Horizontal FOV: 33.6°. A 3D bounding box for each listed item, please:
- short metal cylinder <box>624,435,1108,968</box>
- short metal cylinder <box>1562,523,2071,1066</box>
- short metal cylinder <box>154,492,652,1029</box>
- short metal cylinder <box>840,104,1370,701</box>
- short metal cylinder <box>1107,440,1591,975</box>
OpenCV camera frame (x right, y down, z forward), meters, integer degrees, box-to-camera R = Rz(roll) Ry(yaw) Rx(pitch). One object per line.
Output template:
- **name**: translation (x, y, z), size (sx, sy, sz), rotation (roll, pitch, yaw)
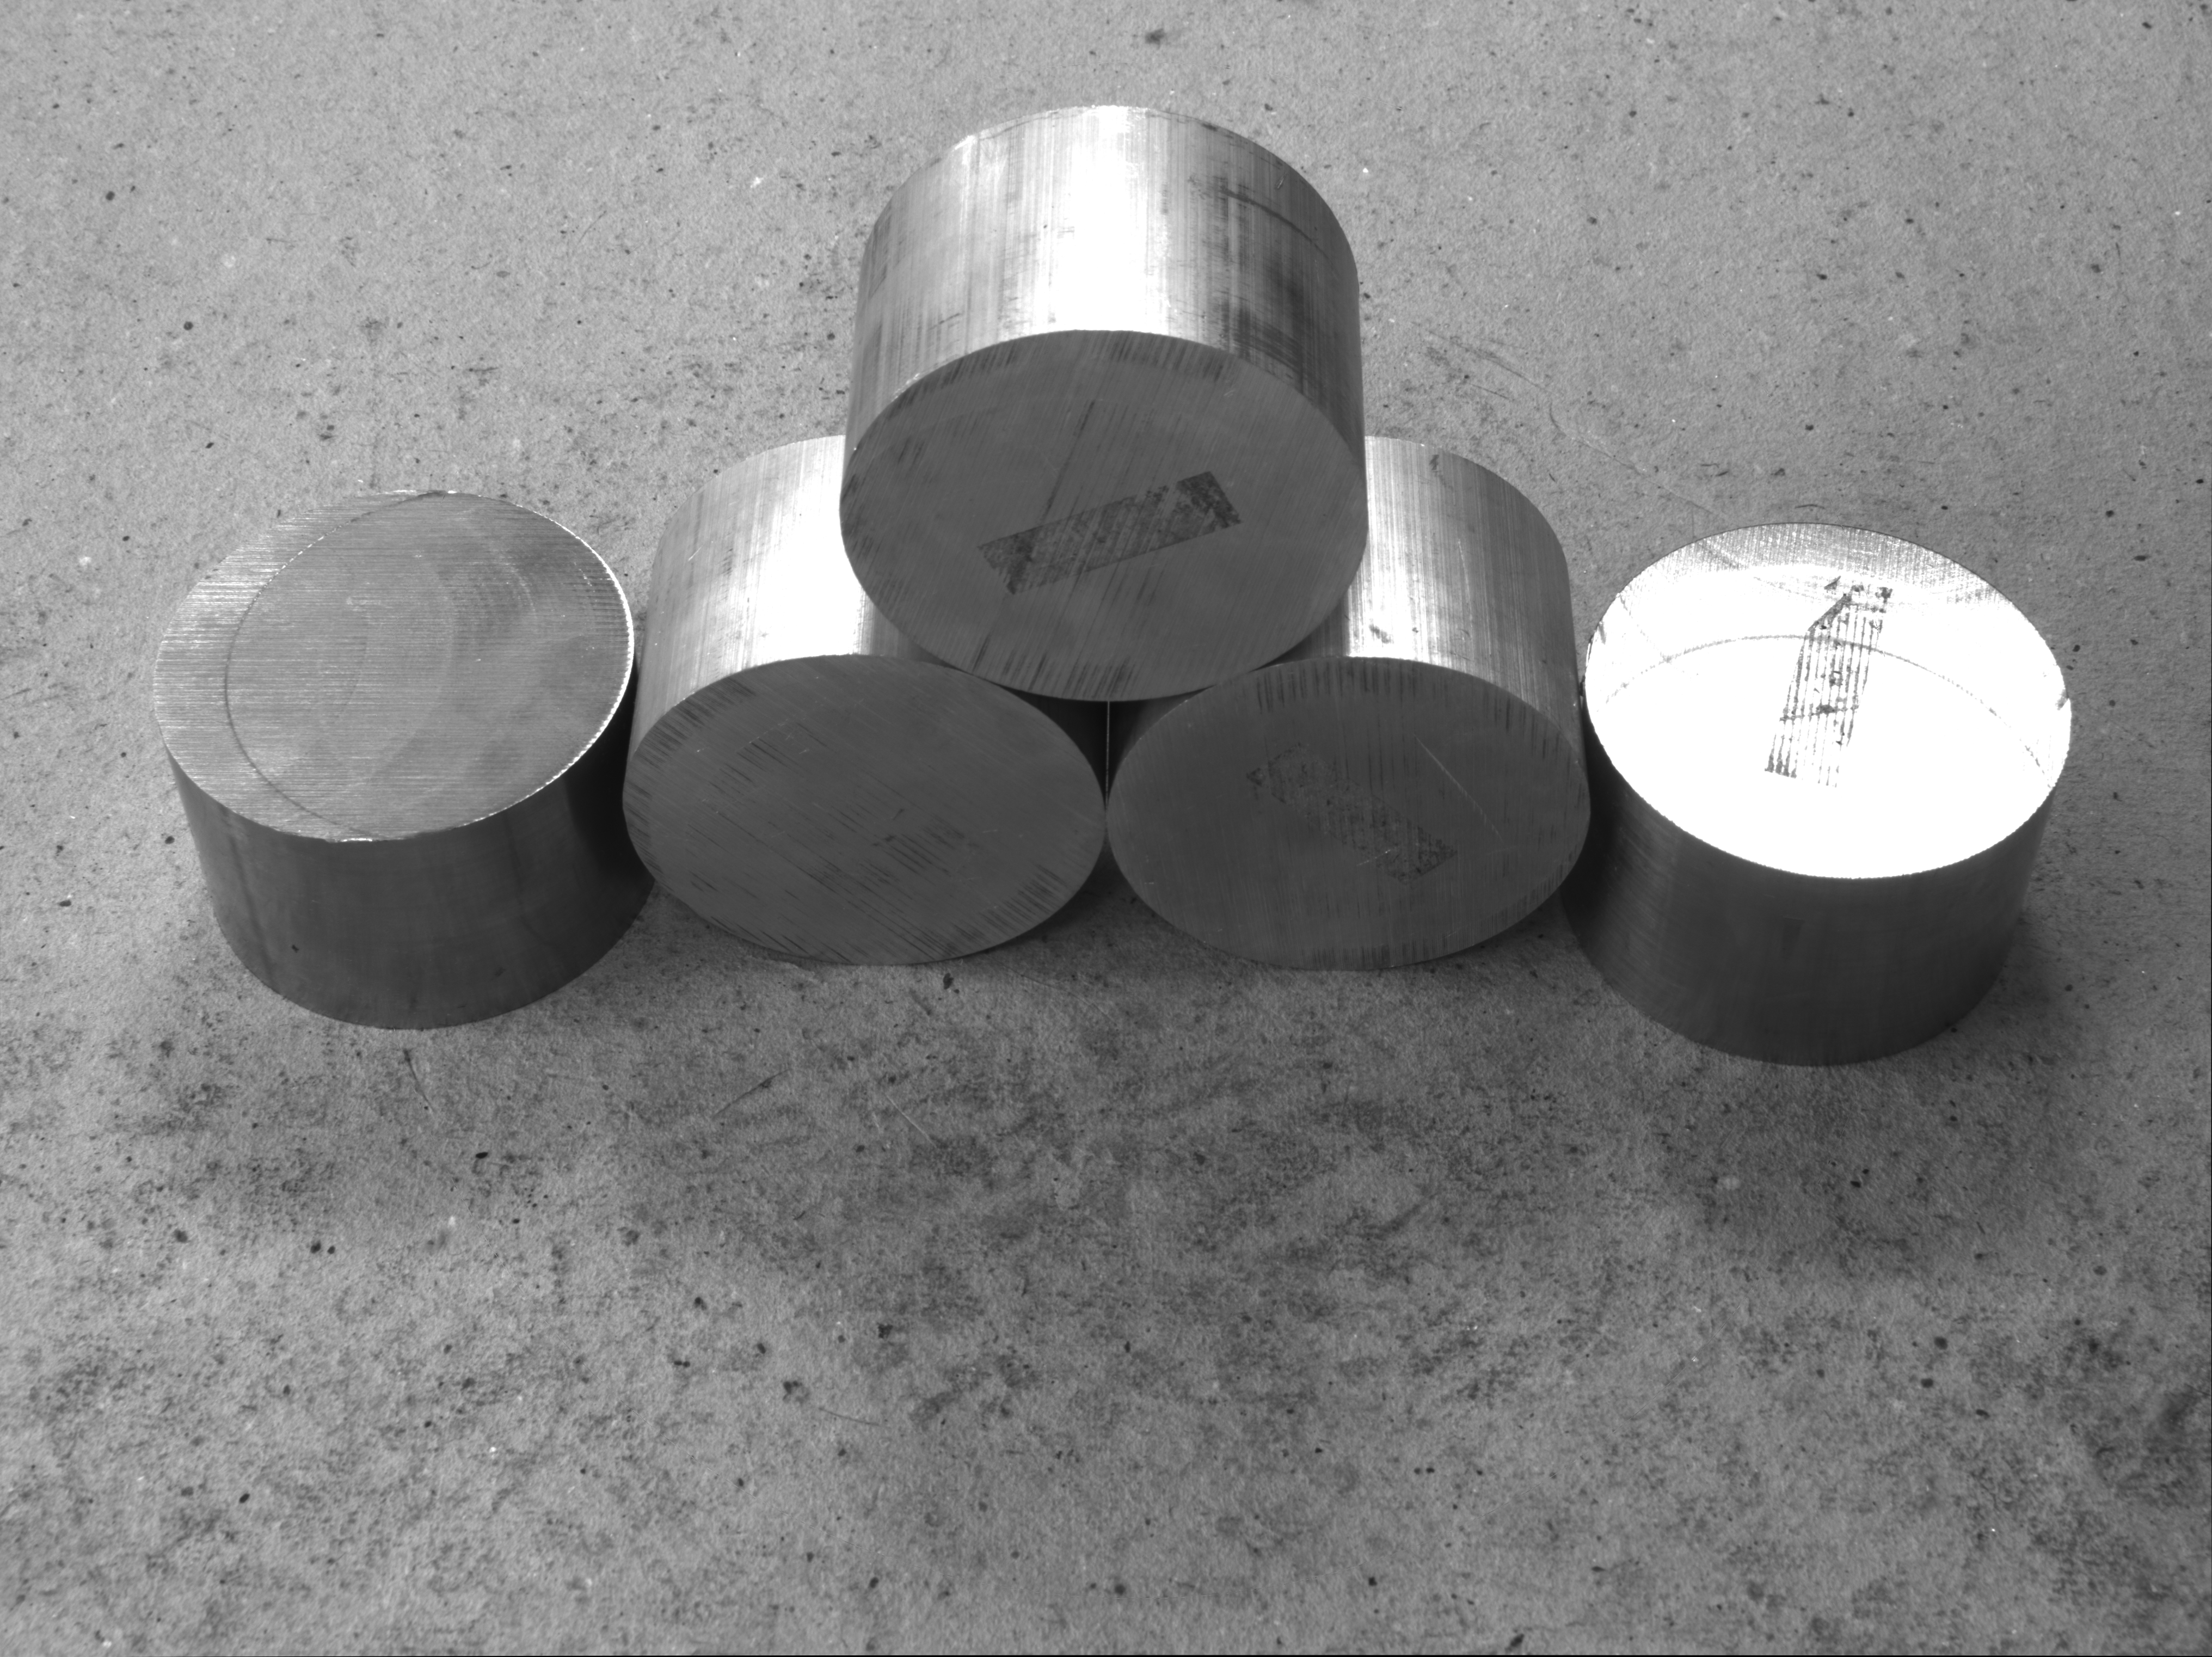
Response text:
- **short metal cylinder**: translation (-0.039, -0.021, 0.623), size (0.080, 0.080, 0.050), rotation (0, 50, 0)
- **short metal cylinder**: translation (0.120, -0.006, 0.630), size (0.080, 0.050, 0.080), rotation (0, 50, 0)
- **short metal cylinder**: translation (-0.120, -0.012, 0.636), size (0.080, 0.050, 0.080), rotation (0, 50, 0)
- **short metal cylinder**: translation (0.000, -0.065, 0.570), size (0.080, 0.080, 0.050), rotation (0, 51, 1)
- **short metal cylinder**: translation (0.040, -0.020, 0.623), size (0.080, 0.080, 0.050), rotation (0, 49, 0)
